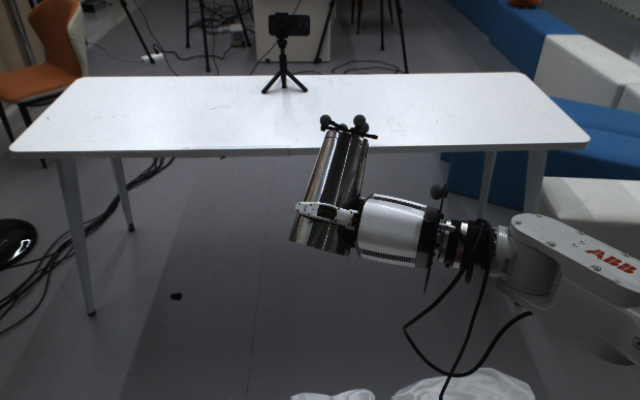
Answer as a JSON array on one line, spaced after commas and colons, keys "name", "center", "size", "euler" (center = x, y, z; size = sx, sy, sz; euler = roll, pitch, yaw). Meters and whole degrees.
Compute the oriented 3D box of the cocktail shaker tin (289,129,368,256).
[{"name": "cocktail shaker tin", "center": [0.019, -0.012, 0.713], "size": [0.093, 0.170, 0.093], "euler": [15, -4, 1]}]
